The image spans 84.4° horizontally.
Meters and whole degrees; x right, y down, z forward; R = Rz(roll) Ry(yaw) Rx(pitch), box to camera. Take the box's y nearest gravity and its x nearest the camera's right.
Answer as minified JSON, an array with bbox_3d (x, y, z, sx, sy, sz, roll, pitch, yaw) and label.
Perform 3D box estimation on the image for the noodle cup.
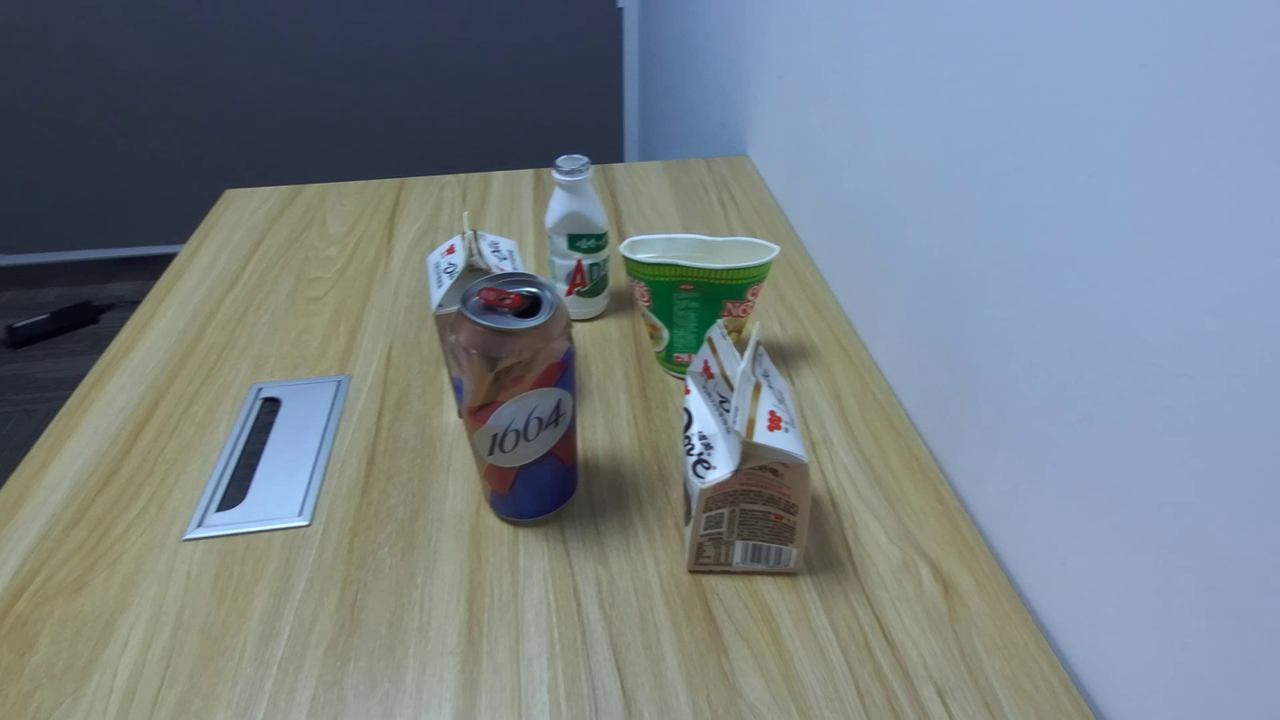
[{"bbox_3d":[0.044,-0.046,0.577,0.114,0.111,0.070,17,44,19],"label":"noodle cup"}]

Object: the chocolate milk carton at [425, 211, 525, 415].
[{"bbox_3d":[-0.120,-0.040,0.552,0.074,0.148,0.075,-13,44,-12],"label":"chocolate milk carton"}]

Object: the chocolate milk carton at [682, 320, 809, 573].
[{"bbox_3d":[0.063,0.052,0.423,0.073,0.156,0.076,-1,39,3],"label":"chocolate milk carton"}]

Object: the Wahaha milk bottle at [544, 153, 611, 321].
[{"bbox_3d":[-0.056,-0.107,0.628,0.056,0.148,0.056,1,40,-1],"label":"Wahaha milk bottle"}]

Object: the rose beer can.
[{"bbox_3d":[-0.075,0.030,0.449,0.076,0.167,0.065,-17,43,-24],"label":"rose beer can"}]
